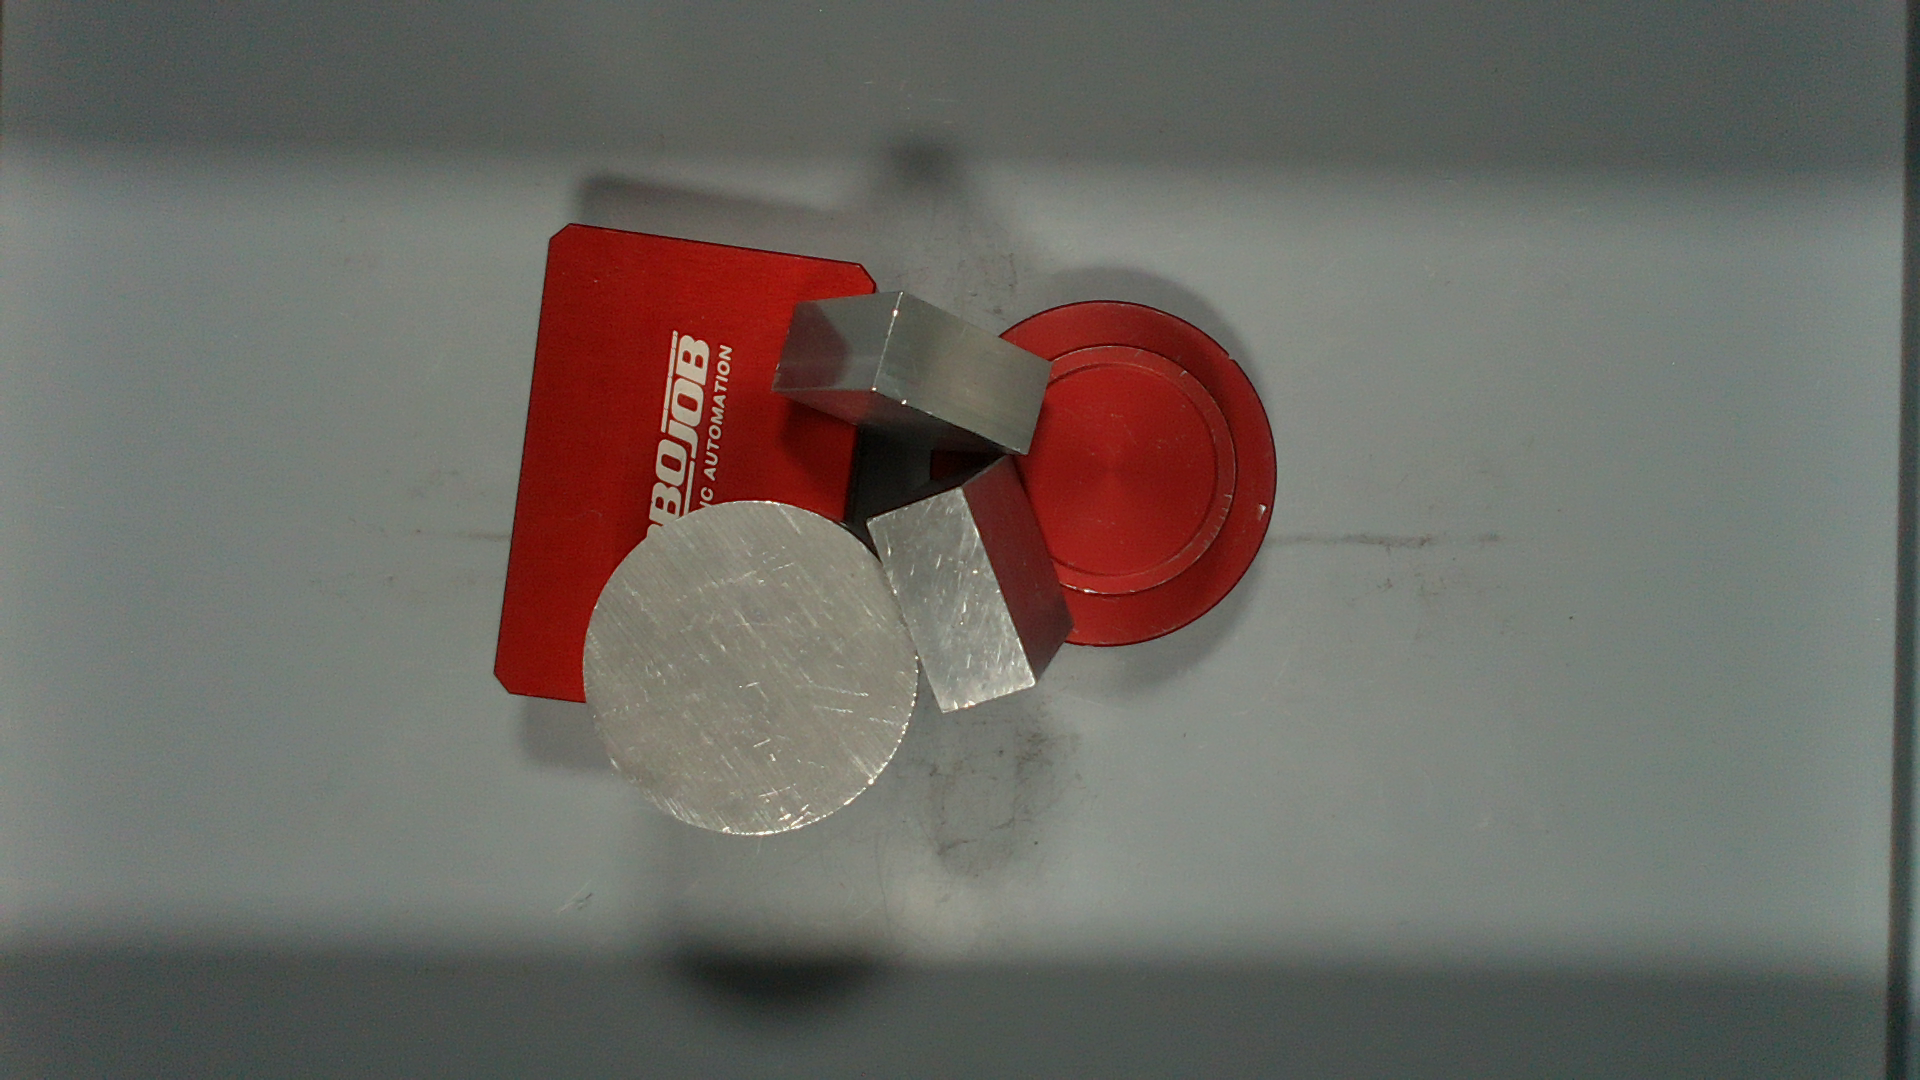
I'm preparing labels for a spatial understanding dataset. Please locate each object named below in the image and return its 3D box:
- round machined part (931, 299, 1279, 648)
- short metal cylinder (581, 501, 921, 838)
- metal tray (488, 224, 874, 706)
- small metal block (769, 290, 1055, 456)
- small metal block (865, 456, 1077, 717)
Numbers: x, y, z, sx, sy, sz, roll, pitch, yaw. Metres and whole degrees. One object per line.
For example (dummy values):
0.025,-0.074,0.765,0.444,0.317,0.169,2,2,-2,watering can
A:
0.041,-0.019,0.385,0.098,0.042,0.098,0,90,0,round machined part
-0.050,0.031,0.352,0.080,0.050,0.080,0,90,0,short metal cylinder
-0.076,-0.016,0.389,0.090,0.030,0.130,8,90,0,metal tray
-0.013,-0.042,0.356,0.050,0.050,0.025,19,84,-36,small metal block
0.005,0.009,0.343,0.025,0.050,0.050,-19,97,19,small metal block
